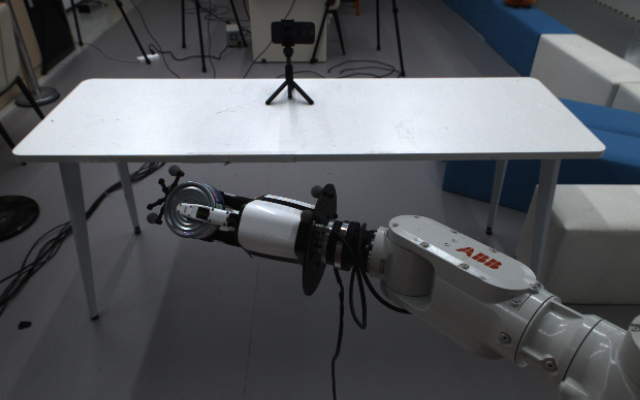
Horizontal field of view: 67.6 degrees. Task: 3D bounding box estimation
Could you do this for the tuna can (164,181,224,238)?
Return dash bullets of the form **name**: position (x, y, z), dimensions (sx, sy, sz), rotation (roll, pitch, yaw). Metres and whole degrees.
- **tuna can**: position (-0.186, 0.015, 0.719), dimensions (0.085, 0.085, 0.034), rotation (13, -3, 15)
